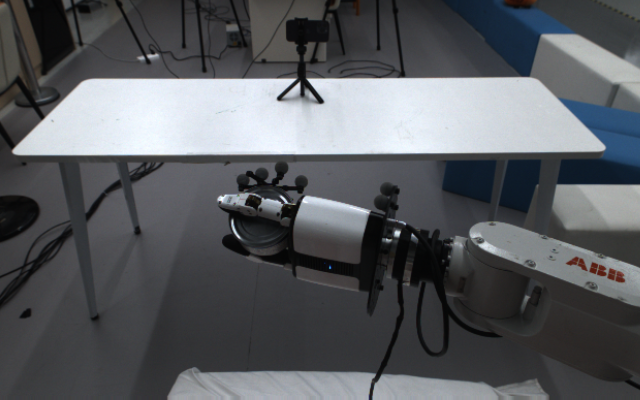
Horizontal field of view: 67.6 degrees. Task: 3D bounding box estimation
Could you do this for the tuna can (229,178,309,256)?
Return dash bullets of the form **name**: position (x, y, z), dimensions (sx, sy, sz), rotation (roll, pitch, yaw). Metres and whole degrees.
- **tuna can**: position (-0.069, 0.027, 0.616), dimensions (0.085, 0.034, 0.085), rotation (-3, 61, 6)
